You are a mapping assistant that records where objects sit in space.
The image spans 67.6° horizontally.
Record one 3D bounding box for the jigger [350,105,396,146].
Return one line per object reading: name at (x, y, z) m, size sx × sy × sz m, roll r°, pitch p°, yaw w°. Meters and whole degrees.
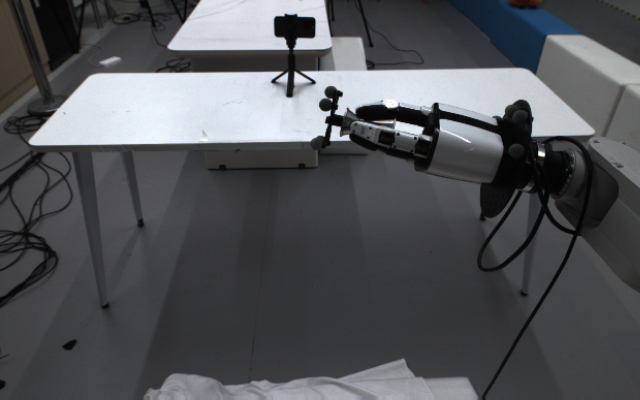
jigger at (0.070, -0.100, 0.654) m, size 0.071 × 0.043 × 0.043 m, roll 14°, pitch 36°, yaw 4°
